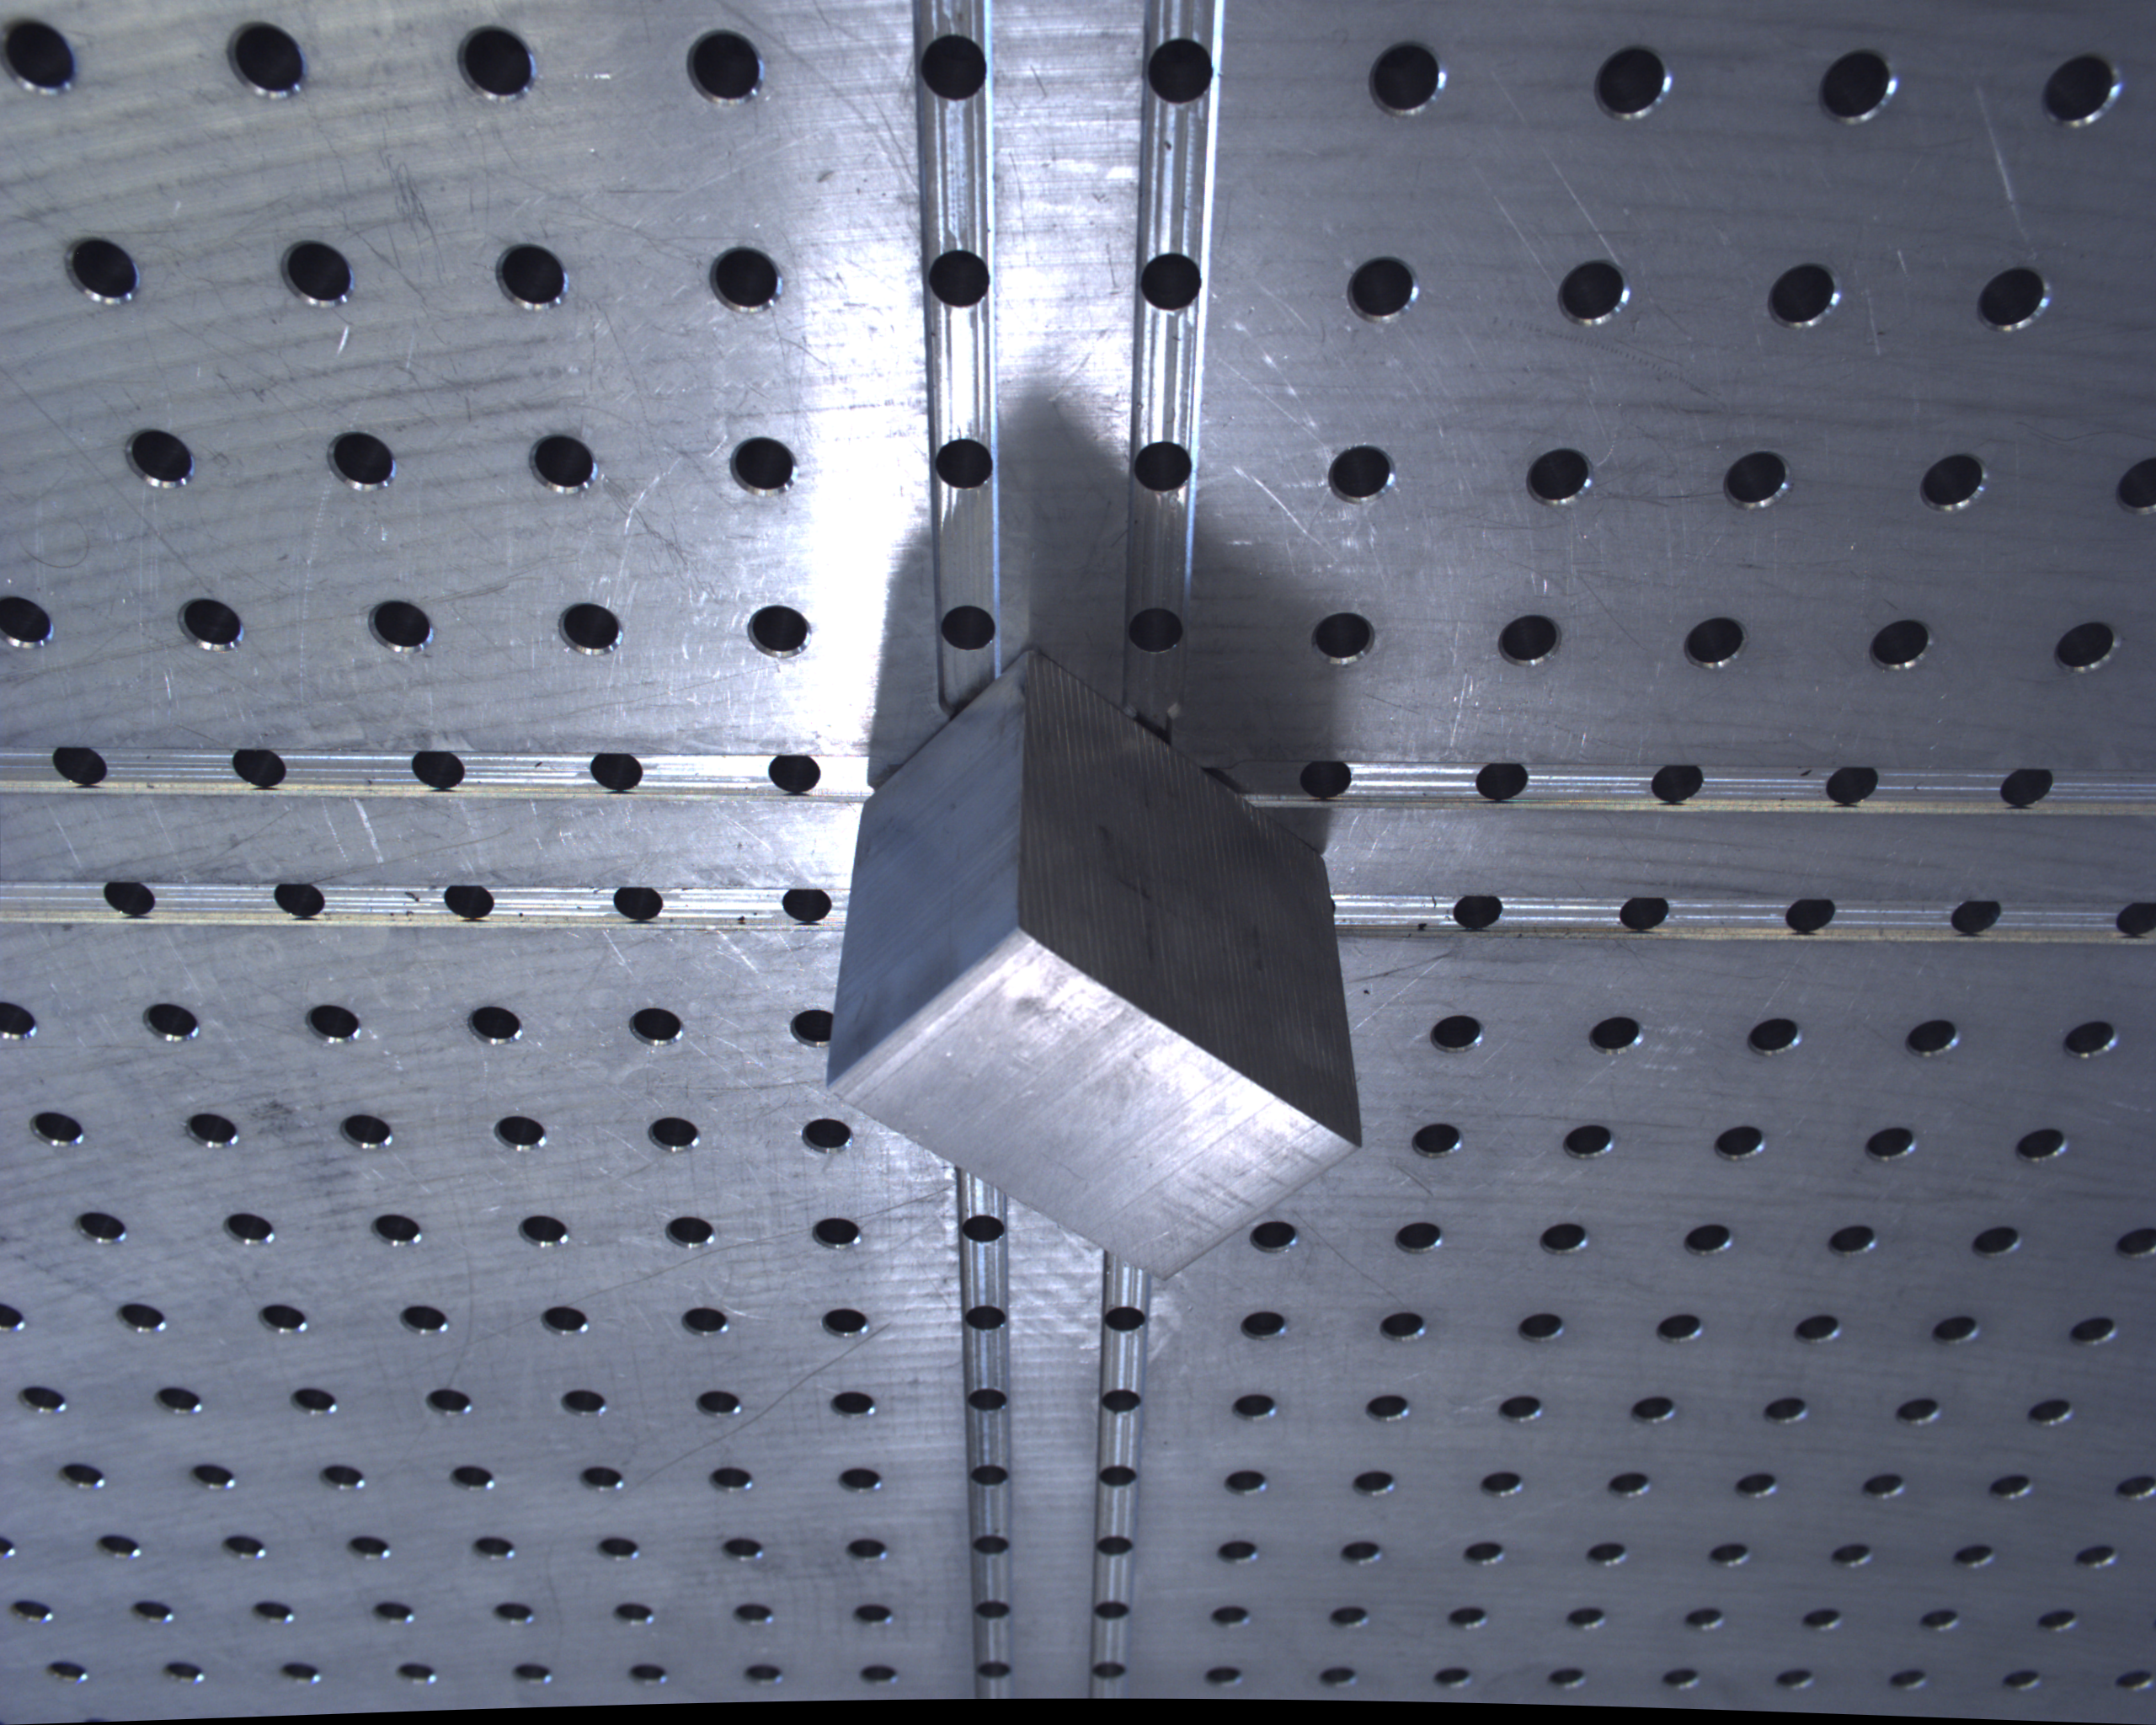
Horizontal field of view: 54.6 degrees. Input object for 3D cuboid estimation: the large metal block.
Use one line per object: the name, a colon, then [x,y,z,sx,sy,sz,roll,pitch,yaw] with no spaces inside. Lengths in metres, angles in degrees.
large metal block: [0.003,0.019,0.391,0.080,0.080,0.050,34,123,-26]
